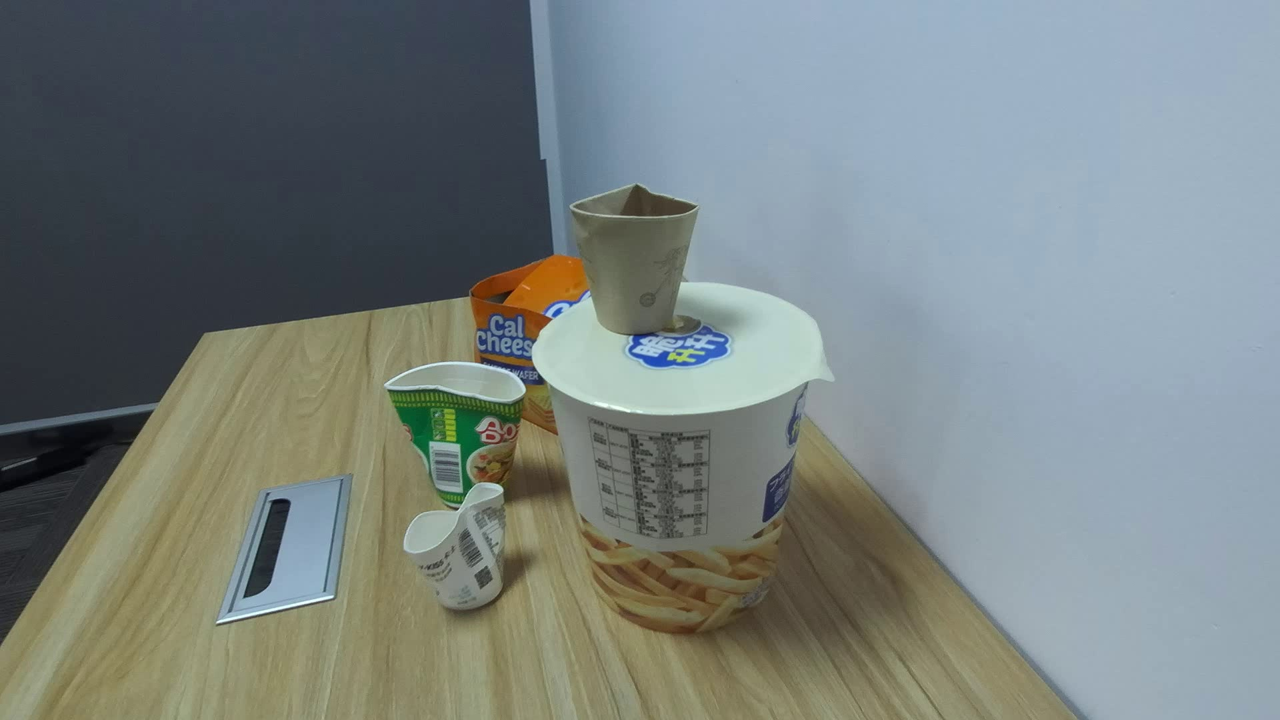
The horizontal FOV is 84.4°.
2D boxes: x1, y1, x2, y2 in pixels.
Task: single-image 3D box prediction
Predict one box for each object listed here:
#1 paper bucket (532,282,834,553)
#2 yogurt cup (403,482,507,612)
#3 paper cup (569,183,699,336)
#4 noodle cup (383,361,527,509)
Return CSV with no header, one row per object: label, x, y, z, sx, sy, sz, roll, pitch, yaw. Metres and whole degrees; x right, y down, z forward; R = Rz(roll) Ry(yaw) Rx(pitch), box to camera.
paper bucket,0.029,0.068,0.506,0.198,0.195,0.198,-2,29,2
yogurt cup,-0.131,0.140,0.520,0.053,0.071,0.075,3,30,9
paper cup,-0.004,-0.064,0.468,0.066,0.084,0.071,-26,39,-36
noodle cup,-0.151,0.065,0.618,0.114,0.111,0.070,18,37,32
